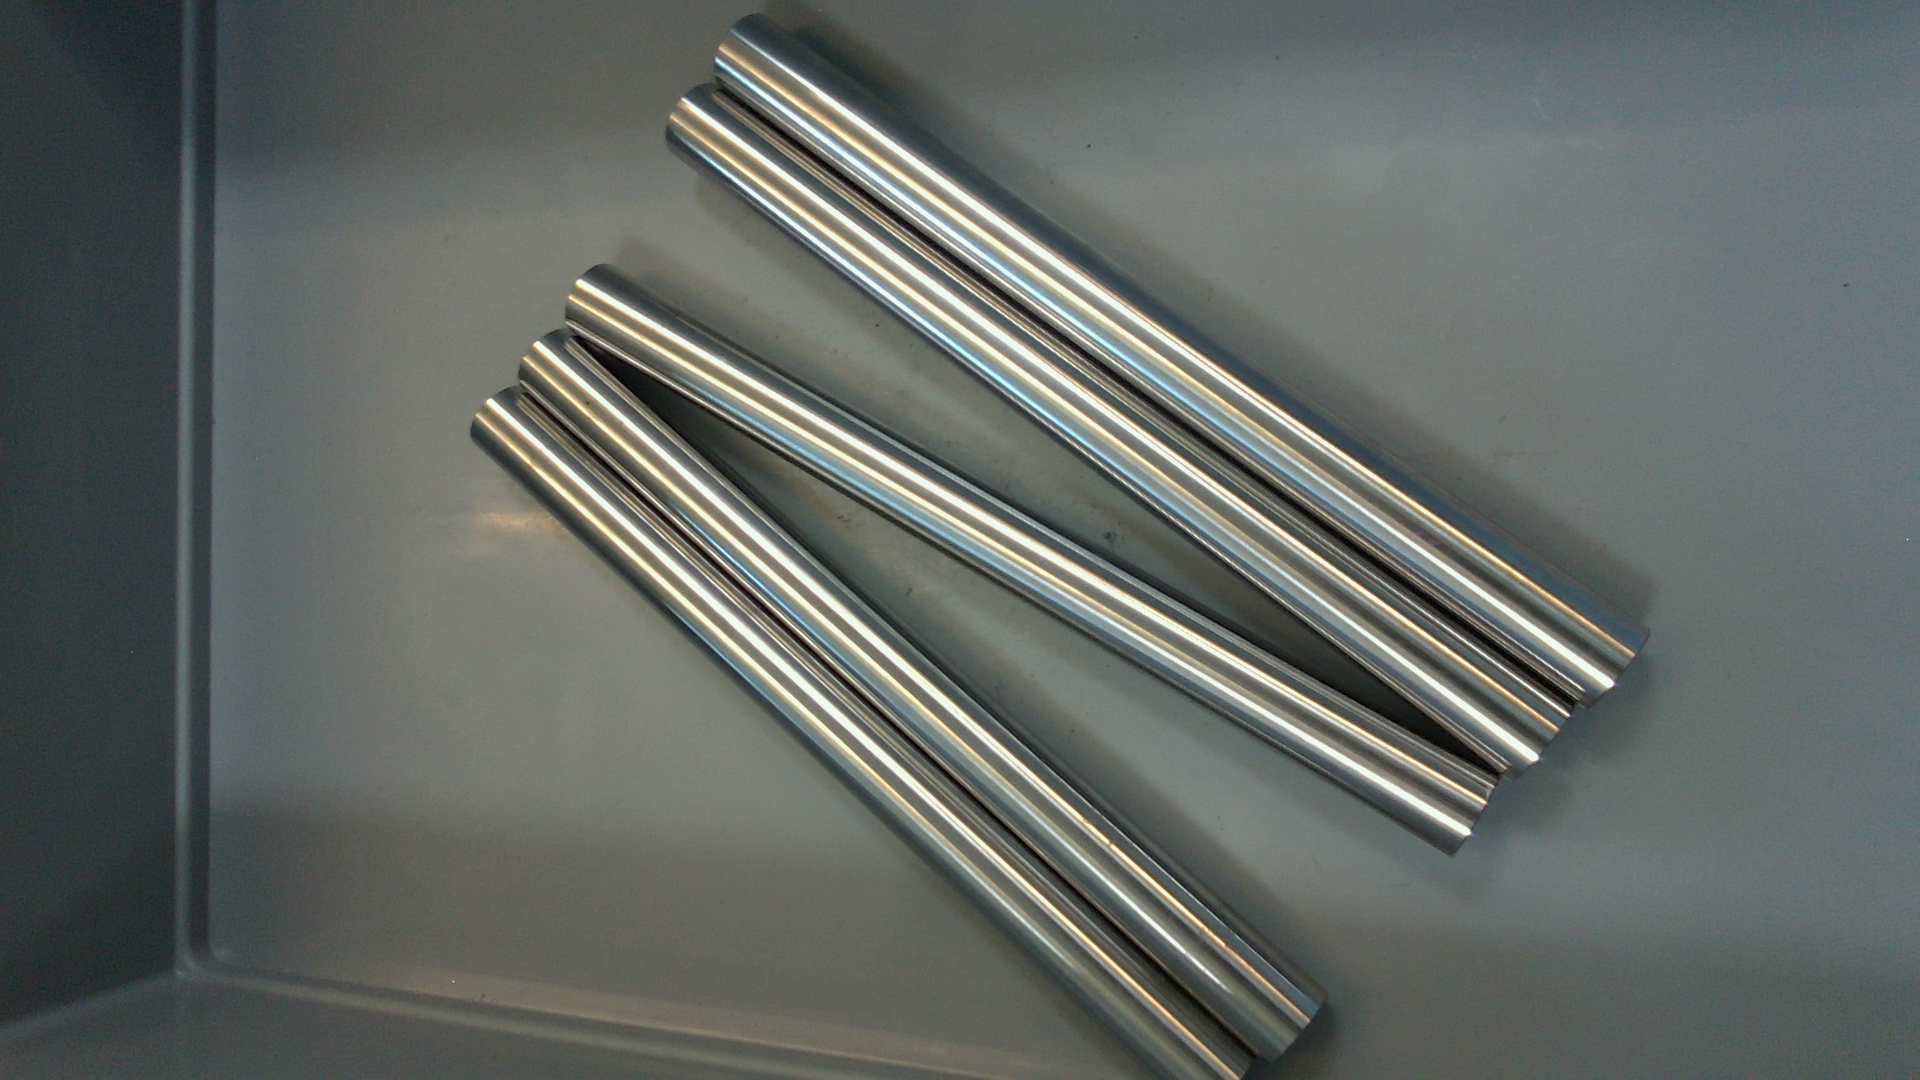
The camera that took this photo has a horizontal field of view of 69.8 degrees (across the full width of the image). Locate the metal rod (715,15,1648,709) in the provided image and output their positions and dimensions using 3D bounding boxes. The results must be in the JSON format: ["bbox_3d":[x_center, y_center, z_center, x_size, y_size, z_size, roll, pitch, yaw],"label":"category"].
[{"bbox_3d":[0.047,-0.058,0.378,0.299,0.025,0.025,38,102,16],"label":"metal rod"}]

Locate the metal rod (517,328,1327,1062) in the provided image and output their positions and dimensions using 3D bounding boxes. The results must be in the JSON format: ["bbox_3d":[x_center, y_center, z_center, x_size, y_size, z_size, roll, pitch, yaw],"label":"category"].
[{"bbox_3d":[-0.022,0.035,0.403,0.300,0.025,0.025,40,103,15],"label":"metal rod"}]

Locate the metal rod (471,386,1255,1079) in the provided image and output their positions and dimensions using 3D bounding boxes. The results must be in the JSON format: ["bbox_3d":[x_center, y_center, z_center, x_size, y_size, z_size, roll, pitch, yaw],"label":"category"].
[{"bbox_3d":[-0.039,0.053,0.409,0.300,0.025,0.025,40,103,15],"label":"metal rod"}]

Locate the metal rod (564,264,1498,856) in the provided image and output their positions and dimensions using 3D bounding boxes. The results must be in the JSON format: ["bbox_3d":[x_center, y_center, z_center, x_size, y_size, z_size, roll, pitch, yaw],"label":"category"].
[{"bbox_3d":[0.007,-0.004,0.393,0.299,0.025,0.025,31,100,17],"label":"metal rod"}]

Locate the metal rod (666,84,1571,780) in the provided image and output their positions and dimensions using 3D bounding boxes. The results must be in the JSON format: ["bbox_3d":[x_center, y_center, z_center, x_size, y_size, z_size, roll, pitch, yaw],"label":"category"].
[{"bbox_3d":[0.031,-0.040,0.384,0.299,0.025,0.025,38,102,16],"label":"metal rod"}]
